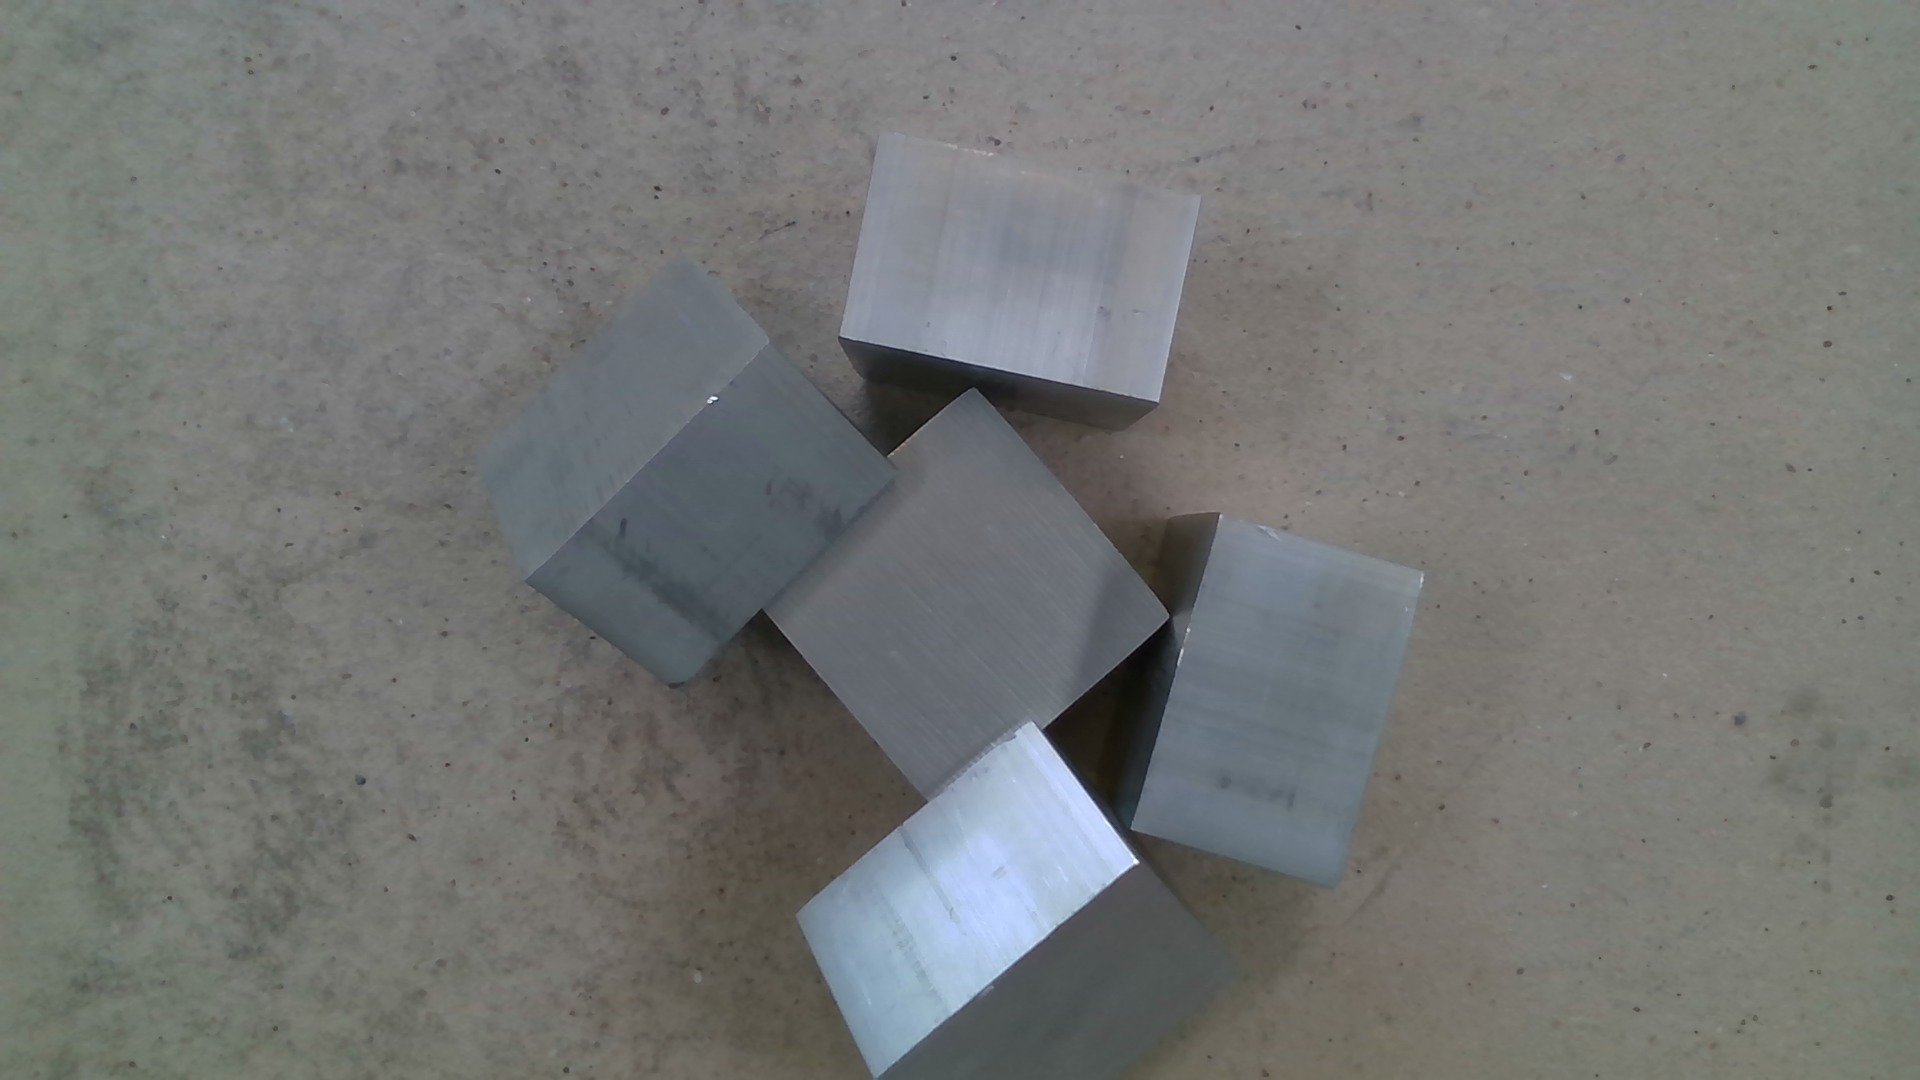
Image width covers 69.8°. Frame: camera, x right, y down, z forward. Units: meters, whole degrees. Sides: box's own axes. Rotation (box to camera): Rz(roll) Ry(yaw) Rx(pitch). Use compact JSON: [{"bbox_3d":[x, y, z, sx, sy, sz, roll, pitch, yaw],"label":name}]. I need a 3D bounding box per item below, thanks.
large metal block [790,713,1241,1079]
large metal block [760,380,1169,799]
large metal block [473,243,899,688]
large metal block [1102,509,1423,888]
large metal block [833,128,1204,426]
[{"bbox_3d":[0.017,0.105,0.362,0.080,0.080,0.050,-39,46,0],"label":"large metal block"},{"bbox_3d":[-0.001,0.015,0.381,0.080,0.050,0.080,-41,90,1],"label":"large metal block"},{"bbox_3d":[-0.075,-0.022,0.362,0.080,0.080,0.050,-45,127,0],"label":"large metal block"},{"bbox_3d":[0.075,0.038,0.368,0.050,0.080,0.080,16,90,0],"label":"large metal block"},{"bbox_3d":[0.014,-0.066,0.368,0.080,0.080,0.050,12,90,1],"label":"large metal block"}]
